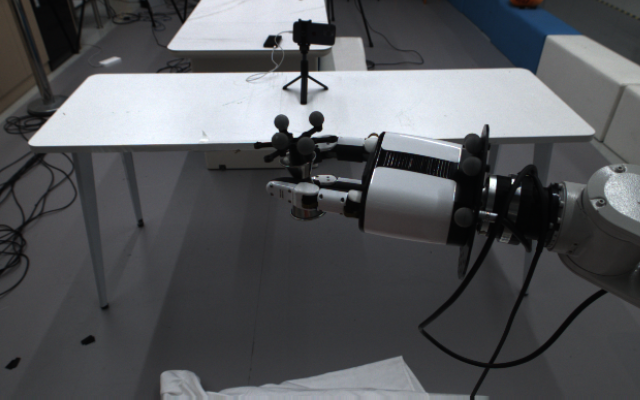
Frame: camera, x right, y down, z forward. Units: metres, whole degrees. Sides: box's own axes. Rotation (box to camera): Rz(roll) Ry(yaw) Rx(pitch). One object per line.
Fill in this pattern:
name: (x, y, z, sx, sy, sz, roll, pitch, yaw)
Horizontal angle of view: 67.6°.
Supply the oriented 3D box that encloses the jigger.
jigger: (-0.016, -0.019, 0.538, 0.043, 0.071, 0.043, -9, 31, 5)
